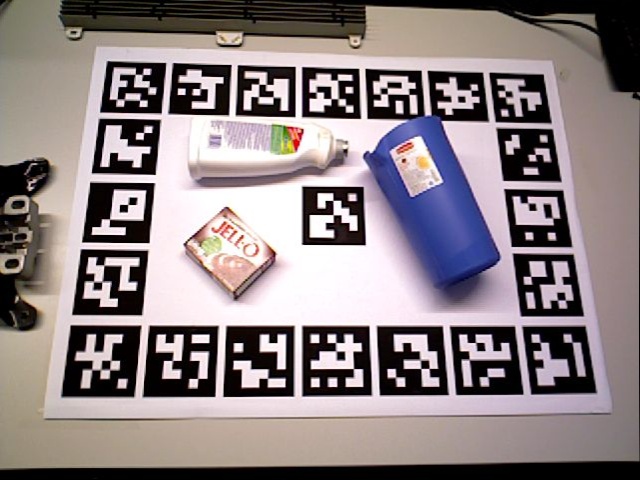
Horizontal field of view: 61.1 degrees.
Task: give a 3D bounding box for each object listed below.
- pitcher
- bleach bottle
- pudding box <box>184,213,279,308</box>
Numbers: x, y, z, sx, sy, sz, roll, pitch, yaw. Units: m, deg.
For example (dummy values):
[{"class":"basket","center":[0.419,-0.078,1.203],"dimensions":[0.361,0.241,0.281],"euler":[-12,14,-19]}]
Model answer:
[{"class":"pitcher","center":[0.188,-0.034,0.816],"dimensions":[0.185,0.136,0.242],"euler":[-14,76,-45]},{"class":"bleach bottle","center":[-0.072,-0.136,0.848],"dimensions":[0.249,0.069,0.102],"euler":[-1,77,-6]},{"class":"pudding box","center":[-0.131,0.030,0.800],"dimensions":[0.088,0.039,0.114],"euler":[-42,81,-21]}]
